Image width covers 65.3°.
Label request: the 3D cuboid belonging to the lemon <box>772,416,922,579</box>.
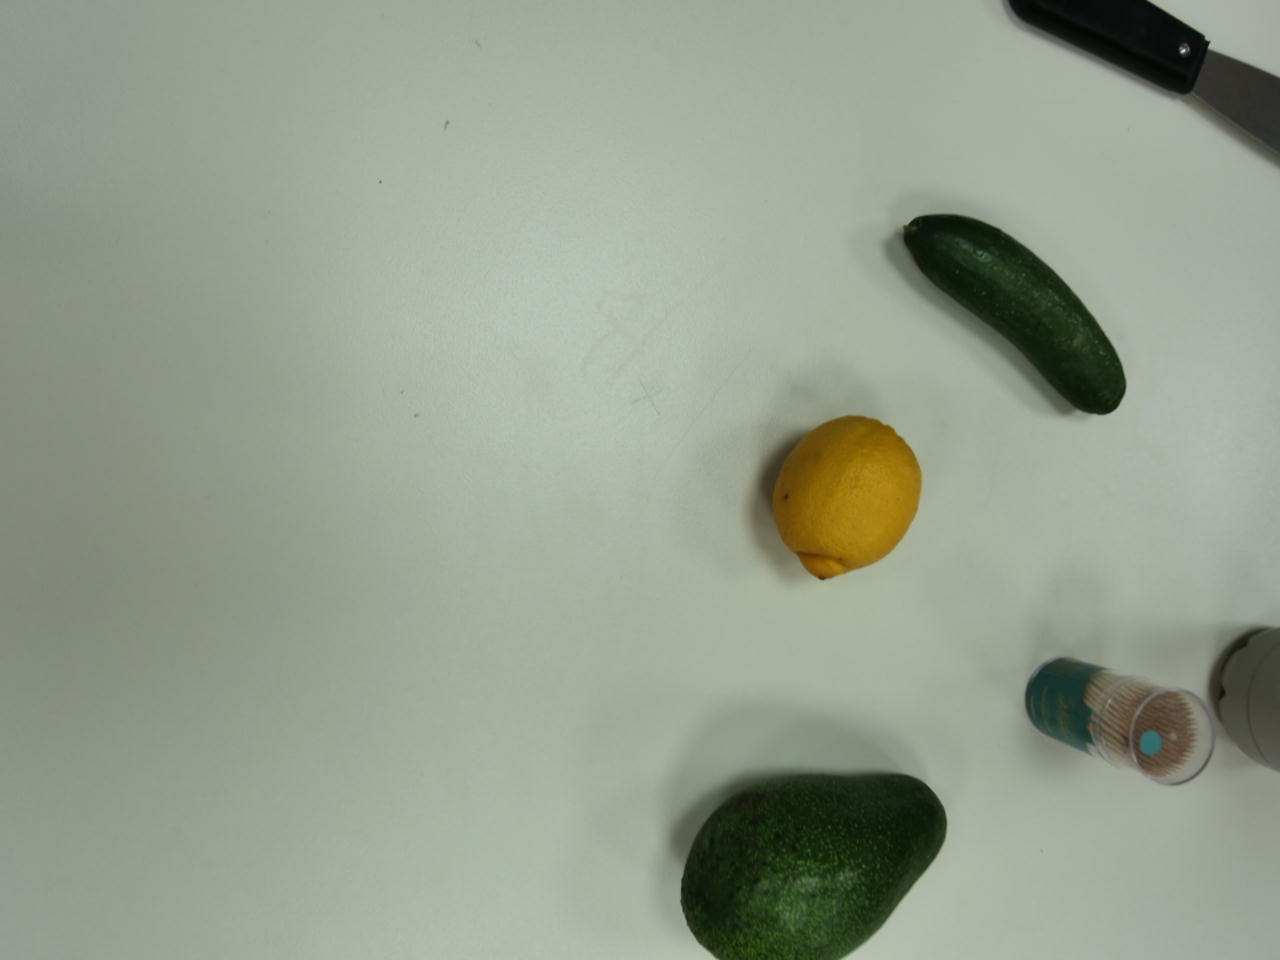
[{"bbox_3d":[0.088,0.006,0.427,0.067,0.059,0.061,-39,97,-9],"label":"lemon"}]
